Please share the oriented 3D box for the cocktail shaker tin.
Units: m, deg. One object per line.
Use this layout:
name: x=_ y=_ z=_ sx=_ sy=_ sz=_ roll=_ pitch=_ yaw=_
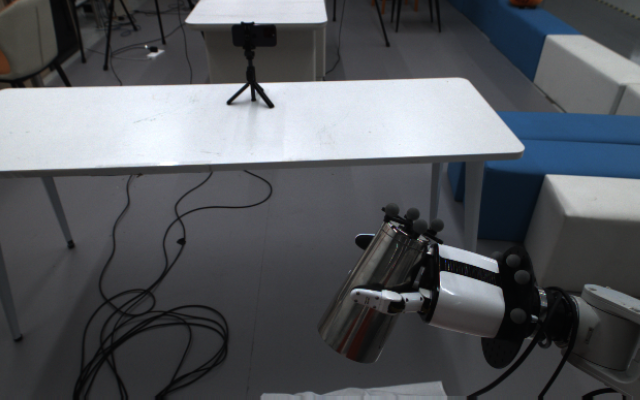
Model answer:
cocktail shaker tin: x=0.077 y=0.111 z=0.628 sx=0.093 sy=0.170 sz=0.093 roll=24 pitch=12 yaw=-6
